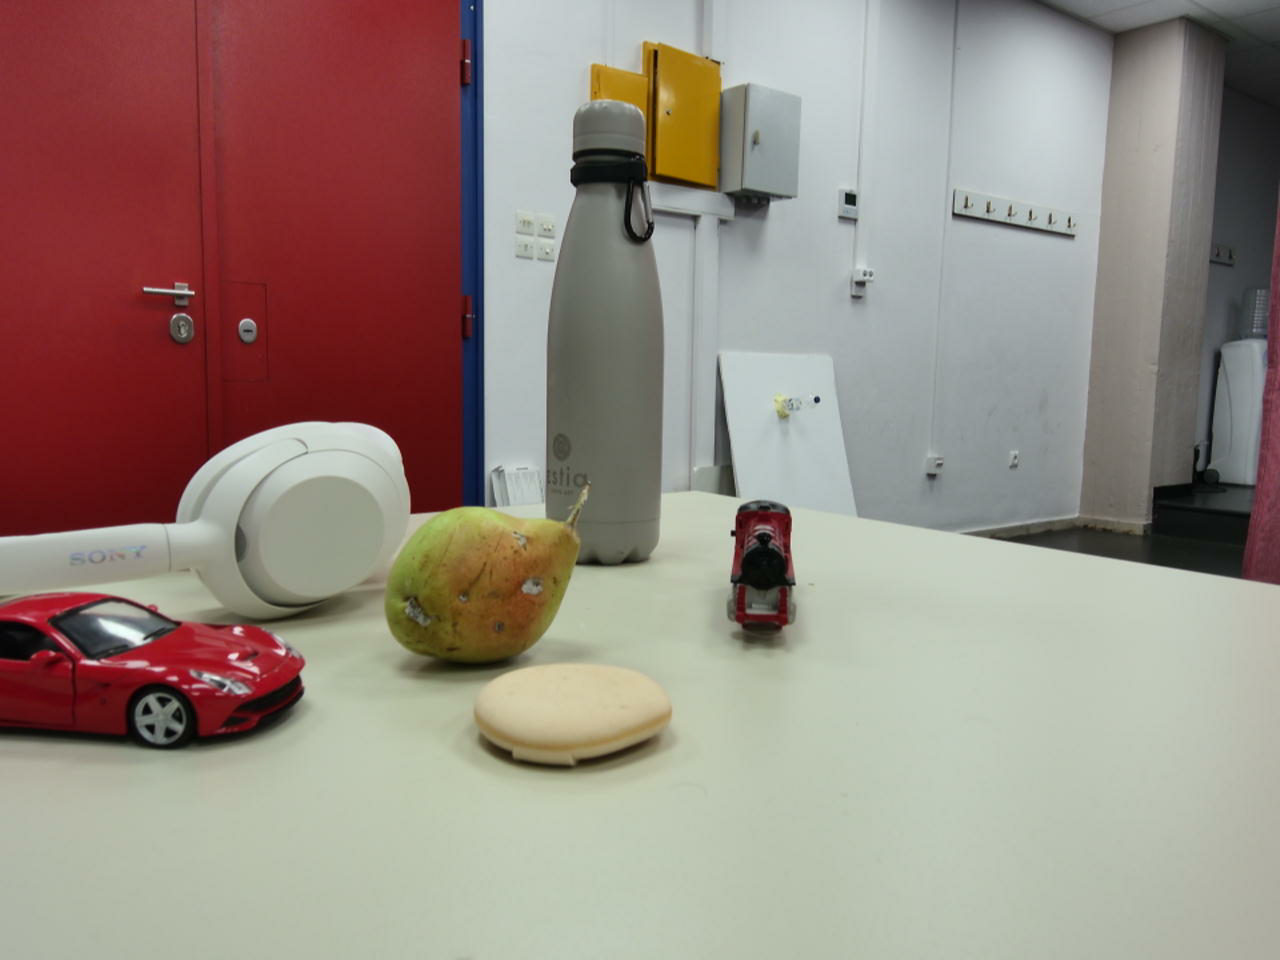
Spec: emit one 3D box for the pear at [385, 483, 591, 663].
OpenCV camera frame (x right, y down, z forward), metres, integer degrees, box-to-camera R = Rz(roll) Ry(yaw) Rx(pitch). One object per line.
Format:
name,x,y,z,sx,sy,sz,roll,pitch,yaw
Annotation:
pear,-0.062,0.038,0.401,0.070,0.069,0.068,1,4,13
